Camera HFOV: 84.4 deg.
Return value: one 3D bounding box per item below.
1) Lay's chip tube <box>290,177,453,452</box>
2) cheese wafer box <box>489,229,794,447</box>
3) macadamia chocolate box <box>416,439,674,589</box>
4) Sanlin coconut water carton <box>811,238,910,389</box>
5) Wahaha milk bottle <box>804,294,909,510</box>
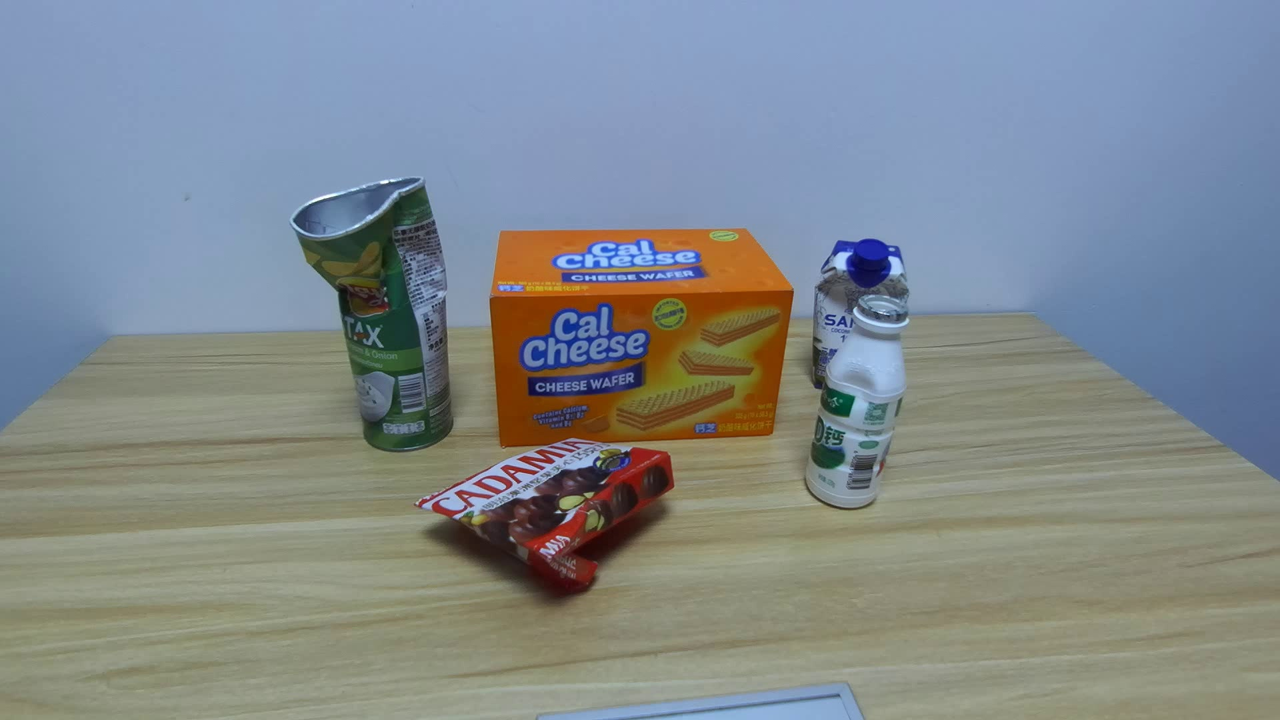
[{"bbox_3d":[-0.182,-0.026,0.508,0.079,0.199,0.071,4,36,7],"label":"Lay's chip tube"},{"bbox_3d":[-0.005,-0.025,0.584,0.222,0.129,0.148,-2,29,-8],"label":"cheese wafer box"},{"bbox_3d":[-0.055,0.087,0.451,0.111,0.056,0.127,22,34,31],"label":"macadamia chocolate box"},{"bbox_3d":[0.187,-0.041,0.614,0.078,0.142,0.058,9,34,11],"label":"Sanlin coconut water carton"},{"bbox_3d":[0.147,0.034,0.475,0.053,0.137,0.053,3,28,-1],"label":"Wahaha milk bottle"}]
